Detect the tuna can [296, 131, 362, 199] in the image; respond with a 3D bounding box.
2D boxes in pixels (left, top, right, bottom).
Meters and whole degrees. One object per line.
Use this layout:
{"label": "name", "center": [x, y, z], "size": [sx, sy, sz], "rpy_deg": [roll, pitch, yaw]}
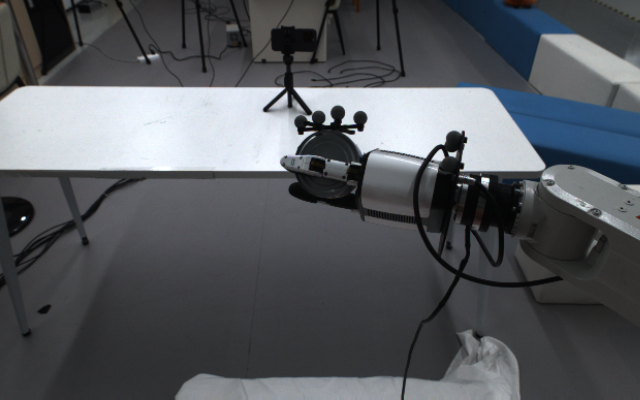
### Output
{"label": "tuna can", "center": [0.012, -0.045, 0.619], "size": [0.085, 0.085, 0.034], "rpy_deg": [16, 0, 19]}
